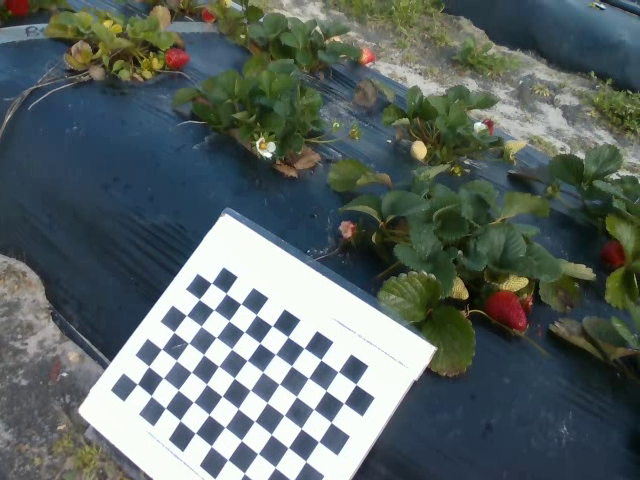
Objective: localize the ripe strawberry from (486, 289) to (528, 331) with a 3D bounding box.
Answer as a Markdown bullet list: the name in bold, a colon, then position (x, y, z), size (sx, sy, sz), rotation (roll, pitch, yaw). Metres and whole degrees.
- **ripe strawberry**: position (0.198, 0.066, 0.641), size (0.051, 0.064, 0.043), rotation (-24, -24, 2)
